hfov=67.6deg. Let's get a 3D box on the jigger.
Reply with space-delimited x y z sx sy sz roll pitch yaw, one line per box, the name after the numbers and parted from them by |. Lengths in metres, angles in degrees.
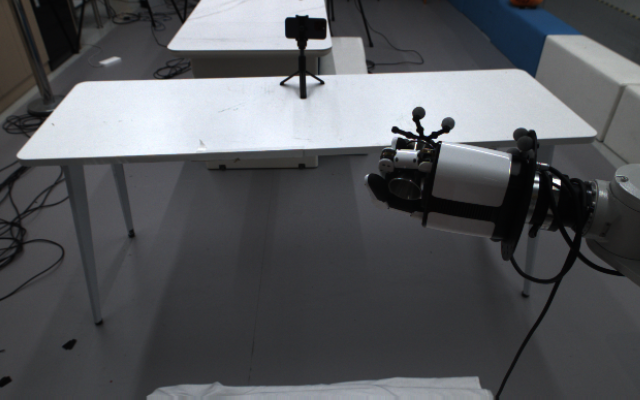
0.119 -0.043 0.617 0.043 0.043 0.071 15 58 18 | jigger
